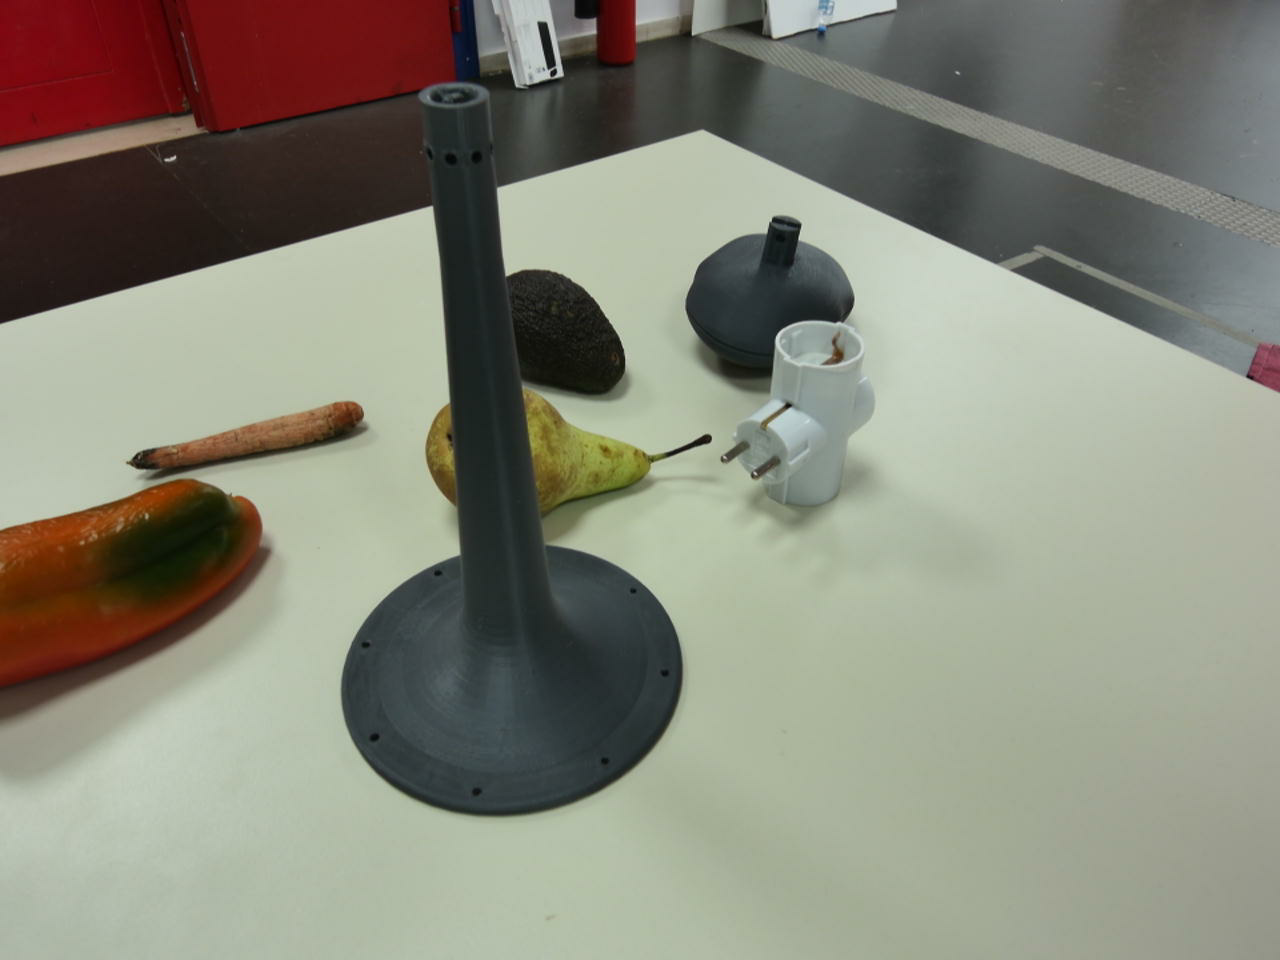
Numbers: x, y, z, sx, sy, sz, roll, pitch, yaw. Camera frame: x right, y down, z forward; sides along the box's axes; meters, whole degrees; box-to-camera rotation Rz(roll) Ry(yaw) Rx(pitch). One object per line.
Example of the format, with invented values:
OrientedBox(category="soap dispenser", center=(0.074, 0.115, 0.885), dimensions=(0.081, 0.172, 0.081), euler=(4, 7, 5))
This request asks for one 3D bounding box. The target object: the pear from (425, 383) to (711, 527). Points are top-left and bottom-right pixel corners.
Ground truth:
OrientedBox(category="pear", center=(-0.041, -0.023, 0.523), dimensions=(0.144, 0.075, 0.071), euler=(-20, 42, -24))
